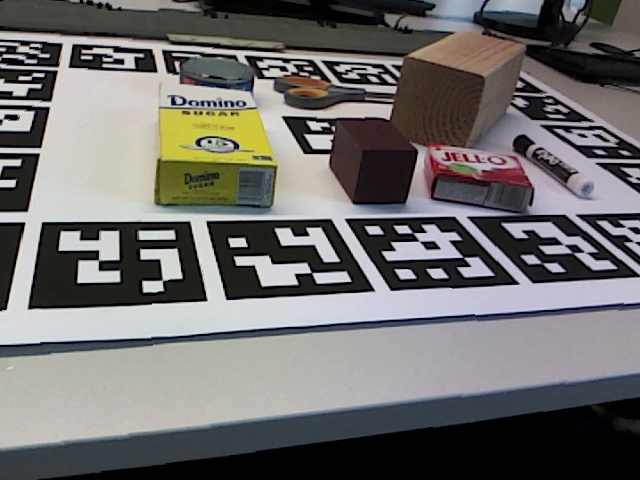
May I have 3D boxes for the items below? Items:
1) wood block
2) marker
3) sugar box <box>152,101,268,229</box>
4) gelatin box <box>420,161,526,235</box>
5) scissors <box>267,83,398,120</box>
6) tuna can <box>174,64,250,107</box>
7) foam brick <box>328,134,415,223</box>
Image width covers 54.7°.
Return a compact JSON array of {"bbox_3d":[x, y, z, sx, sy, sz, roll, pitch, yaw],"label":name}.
[{"bbox_3d":[0.170,-0.166,0.738,0.090,0.091,0.205,22,34,20],"label":"wood block"},{"bbox_3d":[0.237,-0.066,0.660,0.019,0.019,0.122,-1,37,-16],"label":"marker"},{"bbox_3d":[-0.104,-0.075,0.567,0.092,0.045,0.177,1,34,-14],"label":"sugar box"},{"bbox_3d":[0.144,-0.043,0.594,0.089,0.030,0.073,9,34,-1],"label":"gelatin box"},{"bbox_3d":[0.036,-0.171,0.773,0.202,0.016,0.088,1,34,-9],"label":"scissors"},{"bbox_3d":[-0.124,-0.170,0.709,0.085,0.033,0.086,7,34,-5],"label":"tuna can"},{"bbox_3d":[0.045,-0.057,0.563,0.052,0.051,0.078,-1,36,-15],"label":"foam brick"}]
